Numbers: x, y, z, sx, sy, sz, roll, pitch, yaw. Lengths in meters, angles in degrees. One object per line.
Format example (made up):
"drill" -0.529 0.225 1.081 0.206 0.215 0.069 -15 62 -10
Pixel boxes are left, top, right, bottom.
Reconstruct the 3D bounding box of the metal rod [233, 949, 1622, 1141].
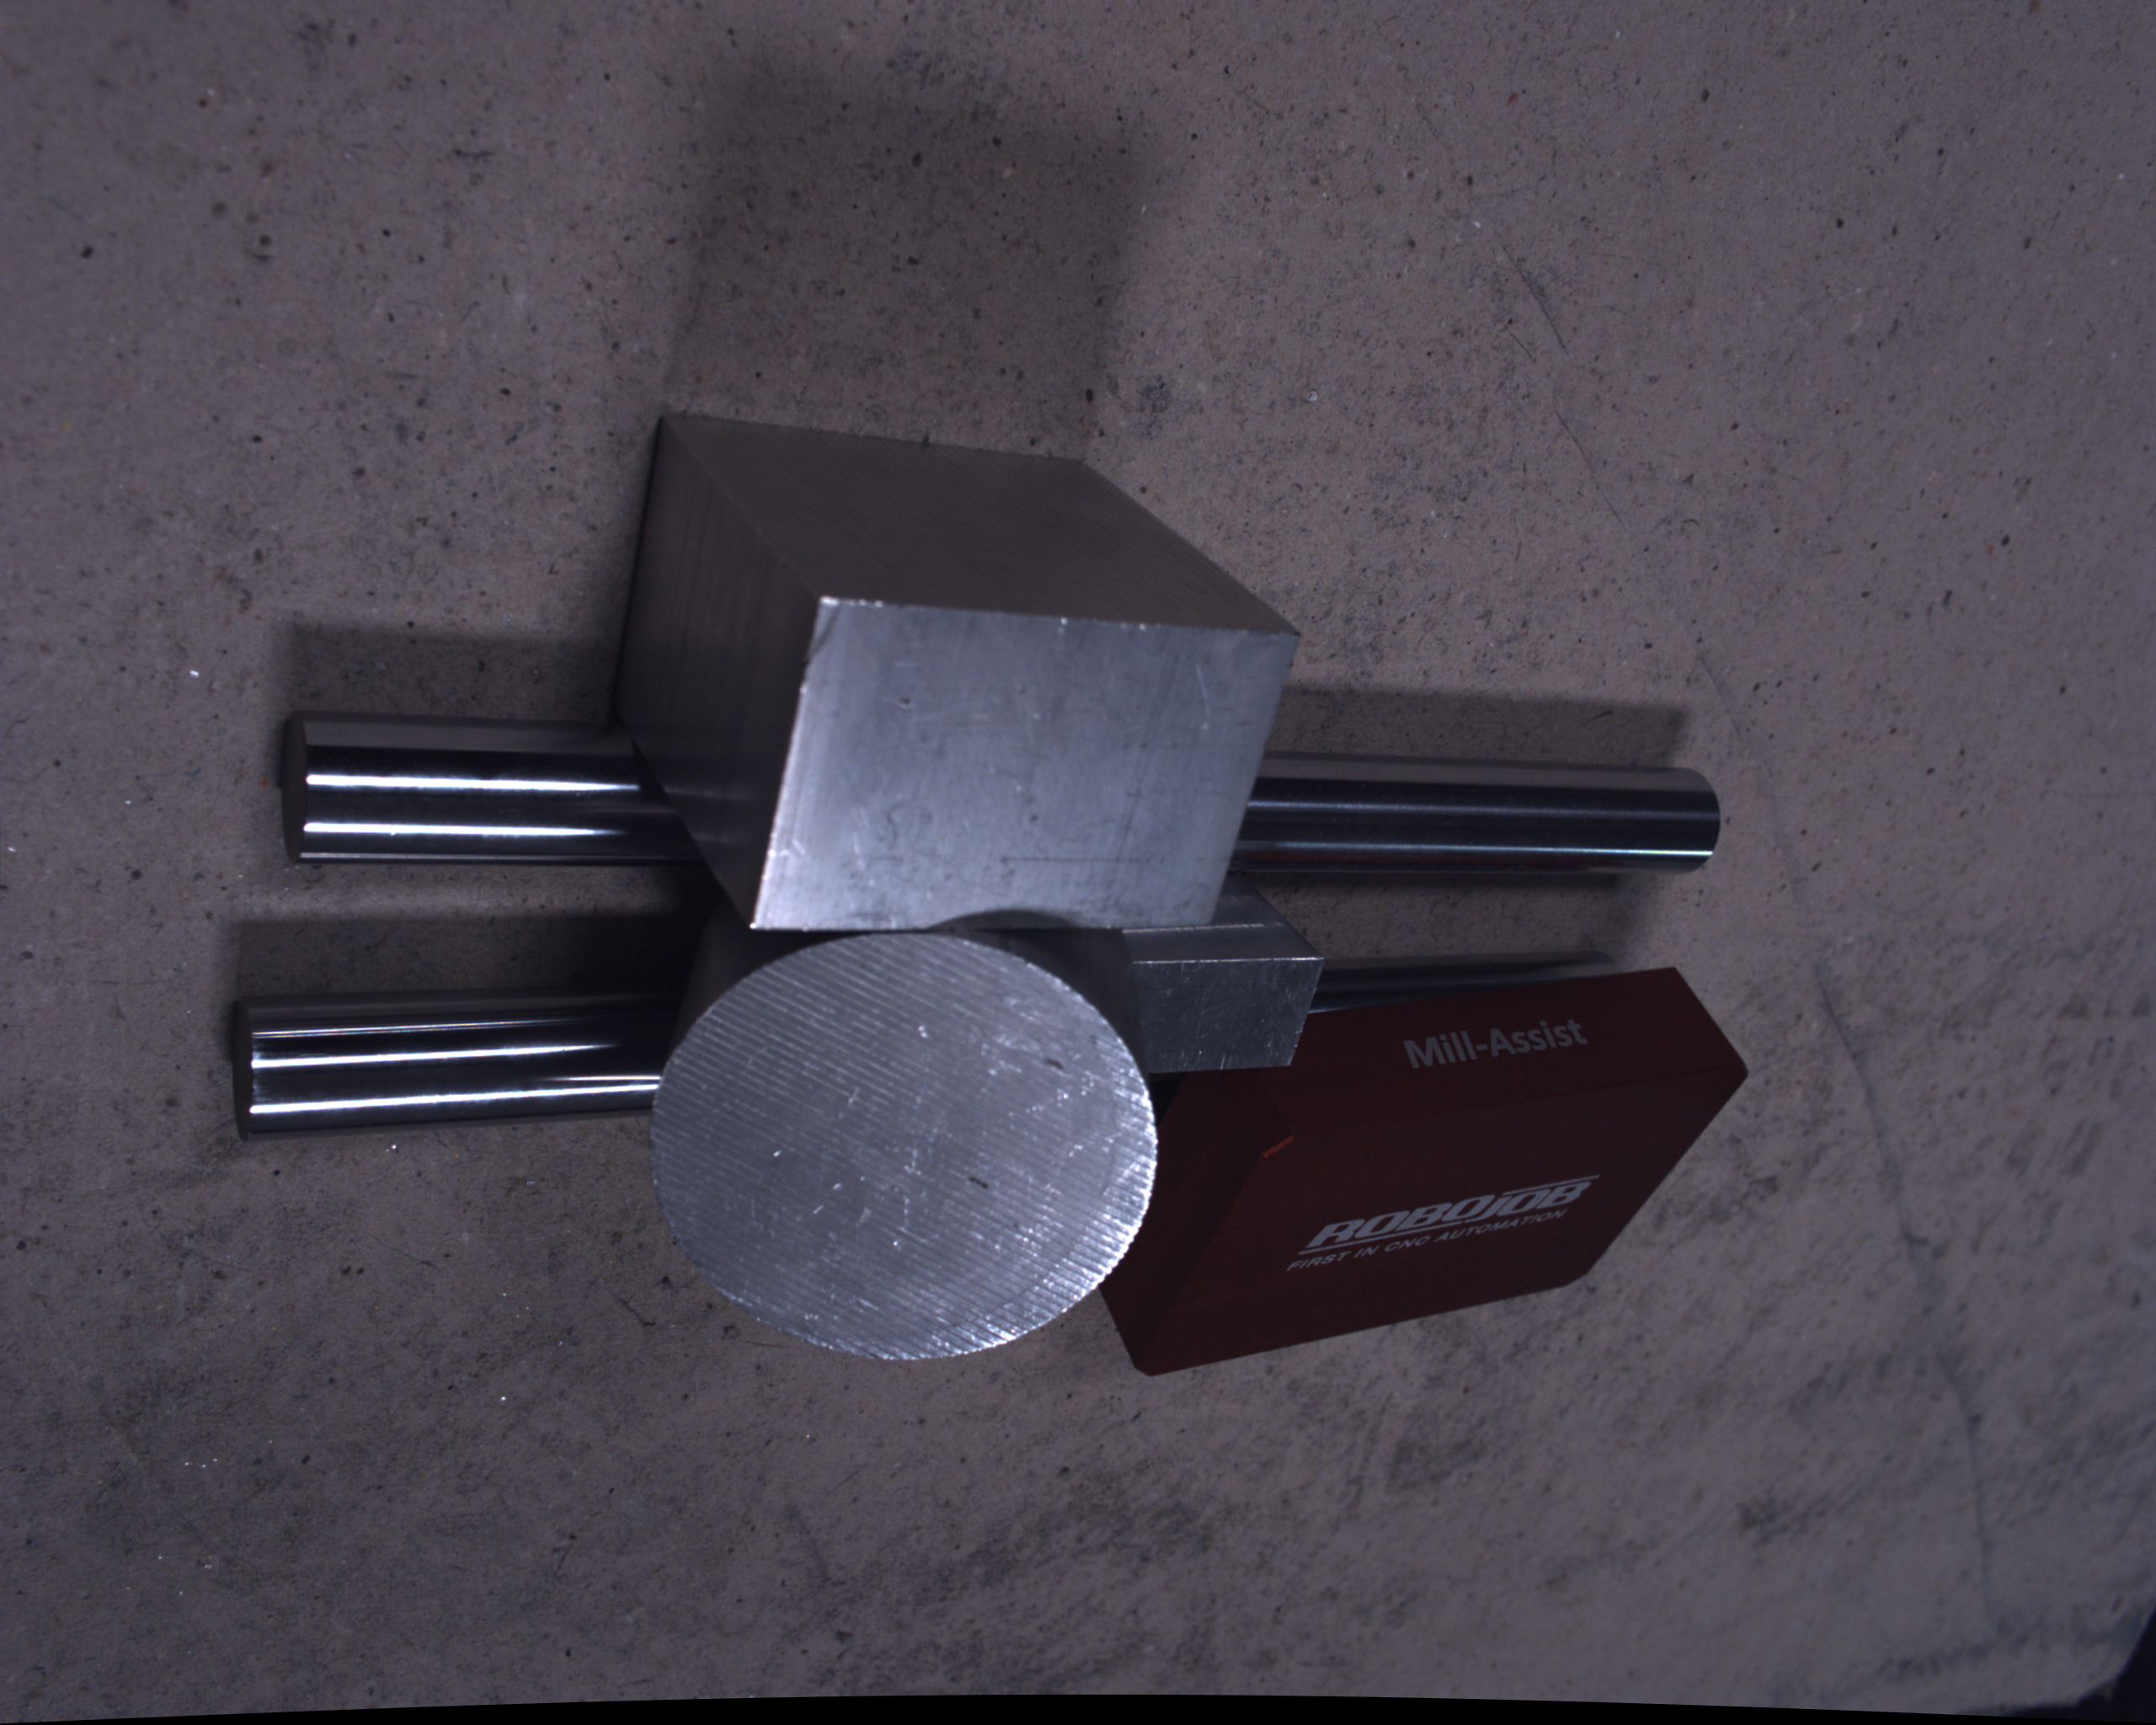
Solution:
"metal rod" -0.009 0.034 0.426 0.303 0.025 0.025 0 119 -29

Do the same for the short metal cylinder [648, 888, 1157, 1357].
"short metal cylinder" -0.029 0.036 0.354 0.081 0.050 0.079 -1 114 -2

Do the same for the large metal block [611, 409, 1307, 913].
"large metal block" -0.023 -0.033 0.342 0.081 0.080 0.050 1 118 -29

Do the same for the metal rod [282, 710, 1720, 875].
"metal rod" 0.007 -0.011 0.407 0.303 0.025 0.025 1 118 -29

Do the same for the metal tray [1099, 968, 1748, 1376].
"metal tray" 0.077 0.070 0.474 0.131 0.030 0.089 -5 138 -28

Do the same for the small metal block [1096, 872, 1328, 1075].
"small metal block" 0.012 0.017 0.411 0.050 0.050 0.025 1 118 -29
